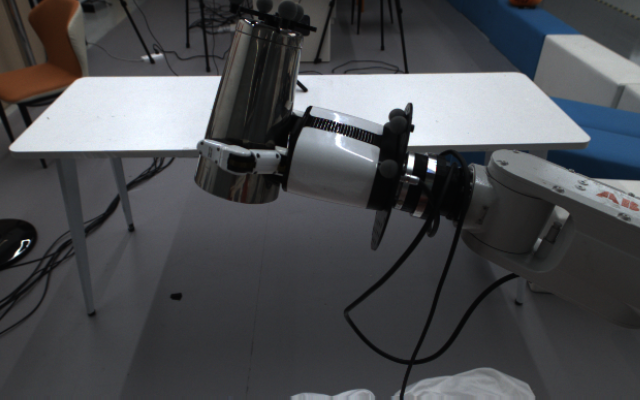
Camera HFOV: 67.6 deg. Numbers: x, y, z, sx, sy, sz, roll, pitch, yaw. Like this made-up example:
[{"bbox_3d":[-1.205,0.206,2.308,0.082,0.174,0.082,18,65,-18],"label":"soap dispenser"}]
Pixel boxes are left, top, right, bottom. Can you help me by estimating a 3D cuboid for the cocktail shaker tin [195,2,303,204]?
[{"bbox_3d":[-0.068,-0.092,0.501,0.093,0.170,0.093,14,20,-5],"label":"cocktail shaker tin"}]
